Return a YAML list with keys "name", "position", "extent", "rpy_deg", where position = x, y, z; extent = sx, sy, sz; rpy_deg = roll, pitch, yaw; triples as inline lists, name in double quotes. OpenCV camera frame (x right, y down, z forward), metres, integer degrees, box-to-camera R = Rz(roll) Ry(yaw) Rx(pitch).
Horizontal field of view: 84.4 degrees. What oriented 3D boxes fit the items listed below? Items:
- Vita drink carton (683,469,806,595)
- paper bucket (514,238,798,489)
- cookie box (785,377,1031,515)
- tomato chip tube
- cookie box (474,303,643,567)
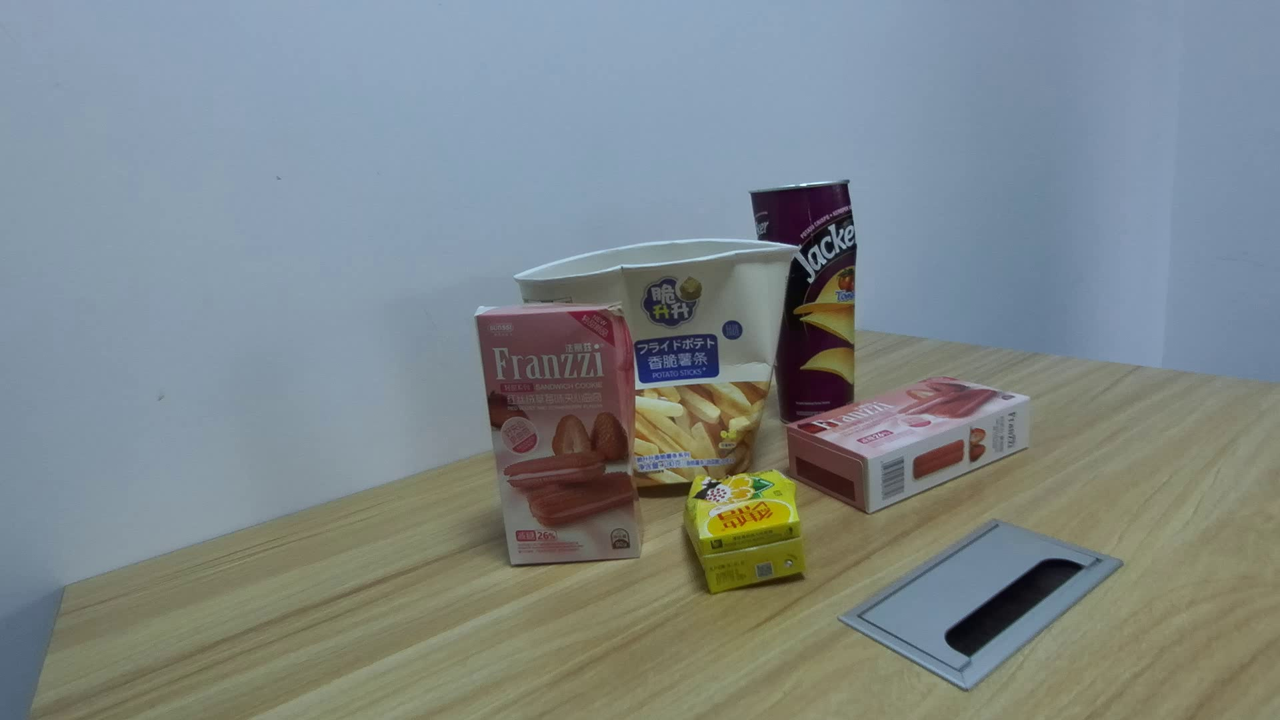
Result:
- name: "Vita drink carton"
  position: [0.071, 0.113, 0.488]
  extent: [0.087, 0.042, 0.108]
  rpy_deg: [-13, 10, 5]
- name: "paper bucket"
  position: [0.024, 0.001, 0.630]
  extent: [0.219, 0.199, 0.147]
  rpy_deg: [-14, 16, -25]
- name: "cookie box"
  position: [0.225, 0.064, 0.593]
  extent: [0.185, 0.048, 0.096]
  rpy_deg: [-14, 17, -25]
- name: "tomato chip tube"
  position: [0.169, -0.055, 0.706]
  extent: [0.076, 0.235, 0.077]
  rpy_deg: [-13, 14, -21]
- name: "cookie box"
  position: [-0.052, 0.051, 0.504]
  extent: [0.118, 0.184, 0.055]
  rpy_deg: [-3, 15, 12]
